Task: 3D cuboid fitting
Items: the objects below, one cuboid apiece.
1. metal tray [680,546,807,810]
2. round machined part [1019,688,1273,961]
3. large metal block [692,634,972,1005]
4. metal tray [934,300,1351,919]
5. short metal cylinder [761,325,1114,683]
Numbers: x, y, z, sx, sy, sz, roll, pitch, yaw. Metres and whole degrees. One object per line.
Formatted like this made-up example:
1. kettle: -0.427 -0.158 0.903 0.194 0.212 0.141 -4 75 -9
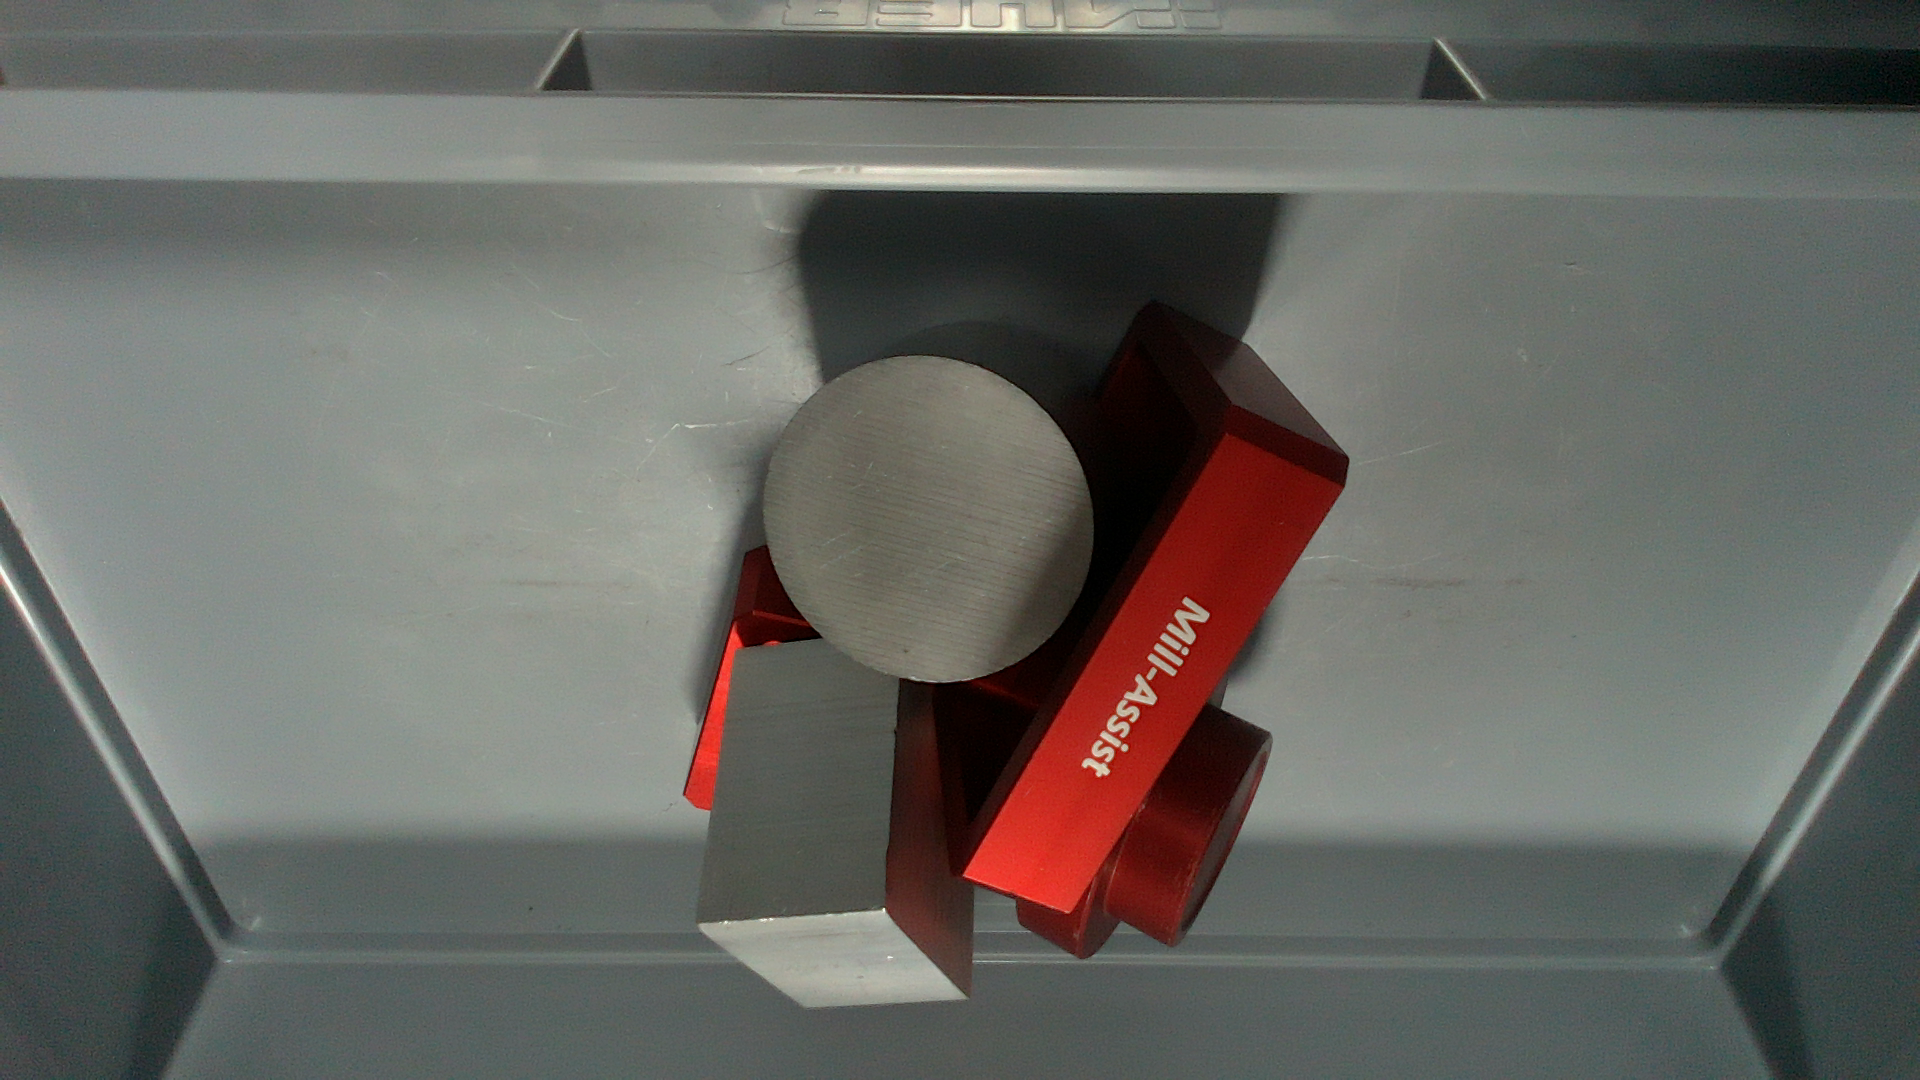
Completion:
1. metal tray: -0.015 0.057 0.433 0.130 0.030 0.090 13 129 -11
2. round machined part: 0.059 0.079 0.404 0.042 0.098 0.098 24 133 19
3. large metal block: -0.031 0.081 0.391 0.050 0.080 0.080 -7 146 14
4. metal tray: 0.037 0.015 0.339 0.030 0.090 0.130 22 111 -14
5. short metal cylinder: -0.003 -0.011 0.344 0.080 0.050 0.080 3 107 11
